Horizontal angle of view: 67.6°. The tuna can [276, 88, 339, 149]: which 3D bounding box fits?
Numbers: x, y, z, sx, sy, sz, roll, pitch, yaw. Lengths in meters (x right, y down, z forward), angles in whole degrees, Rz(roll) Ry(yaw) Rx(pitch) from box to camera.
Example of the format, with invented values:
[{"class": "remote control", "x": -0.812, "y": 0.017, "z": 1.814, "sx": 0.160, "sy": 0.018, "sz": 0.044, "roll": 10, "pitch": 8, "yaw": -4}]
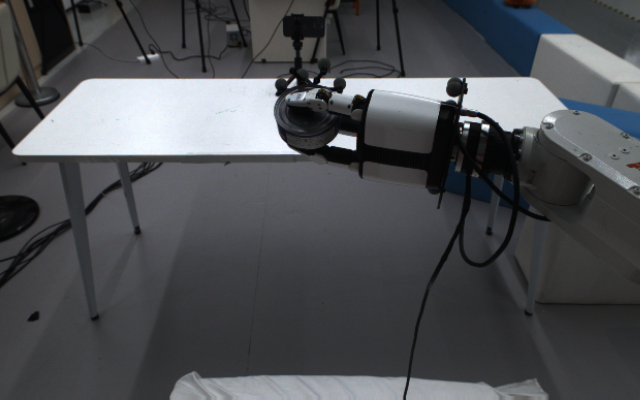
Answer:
[{"class": "tuna can", "x": -0.014, "y": -0.104, "z": 0.625, "sx": 0.085, "sy": 0.034, "sz": 0.085, "roll": -1, "pitch": 58, "yaw": 2}]
